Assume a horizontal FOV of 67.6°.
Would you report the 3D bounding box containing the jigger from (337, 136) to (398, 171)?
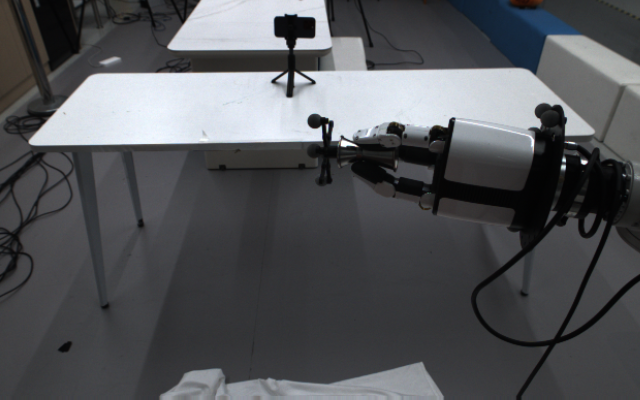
[{"bbox_3d":[0.065,-0.060,0.579,0.071,0.043,0.043,2,34,13],"label":"jigger"}]
